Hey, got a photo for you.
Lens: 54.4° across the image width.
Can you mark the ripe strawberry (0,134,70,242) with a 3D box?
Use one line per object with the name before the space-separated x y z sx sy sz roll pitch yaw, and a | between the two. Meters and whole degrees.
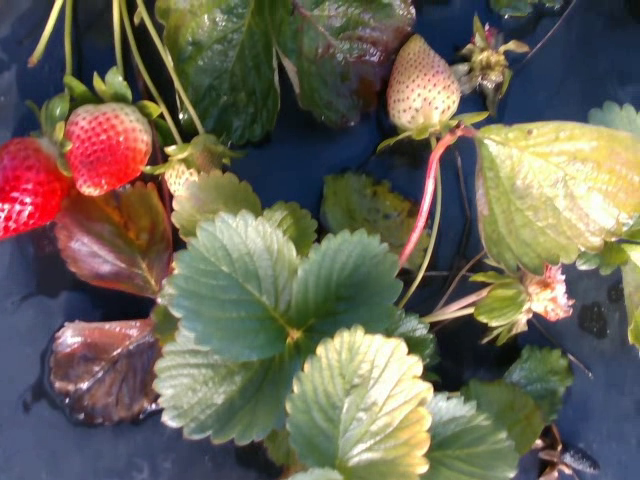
ripe strawberry | -0.137 -0.020 0.271 0.044 0.055 0.042 8 -40 36
